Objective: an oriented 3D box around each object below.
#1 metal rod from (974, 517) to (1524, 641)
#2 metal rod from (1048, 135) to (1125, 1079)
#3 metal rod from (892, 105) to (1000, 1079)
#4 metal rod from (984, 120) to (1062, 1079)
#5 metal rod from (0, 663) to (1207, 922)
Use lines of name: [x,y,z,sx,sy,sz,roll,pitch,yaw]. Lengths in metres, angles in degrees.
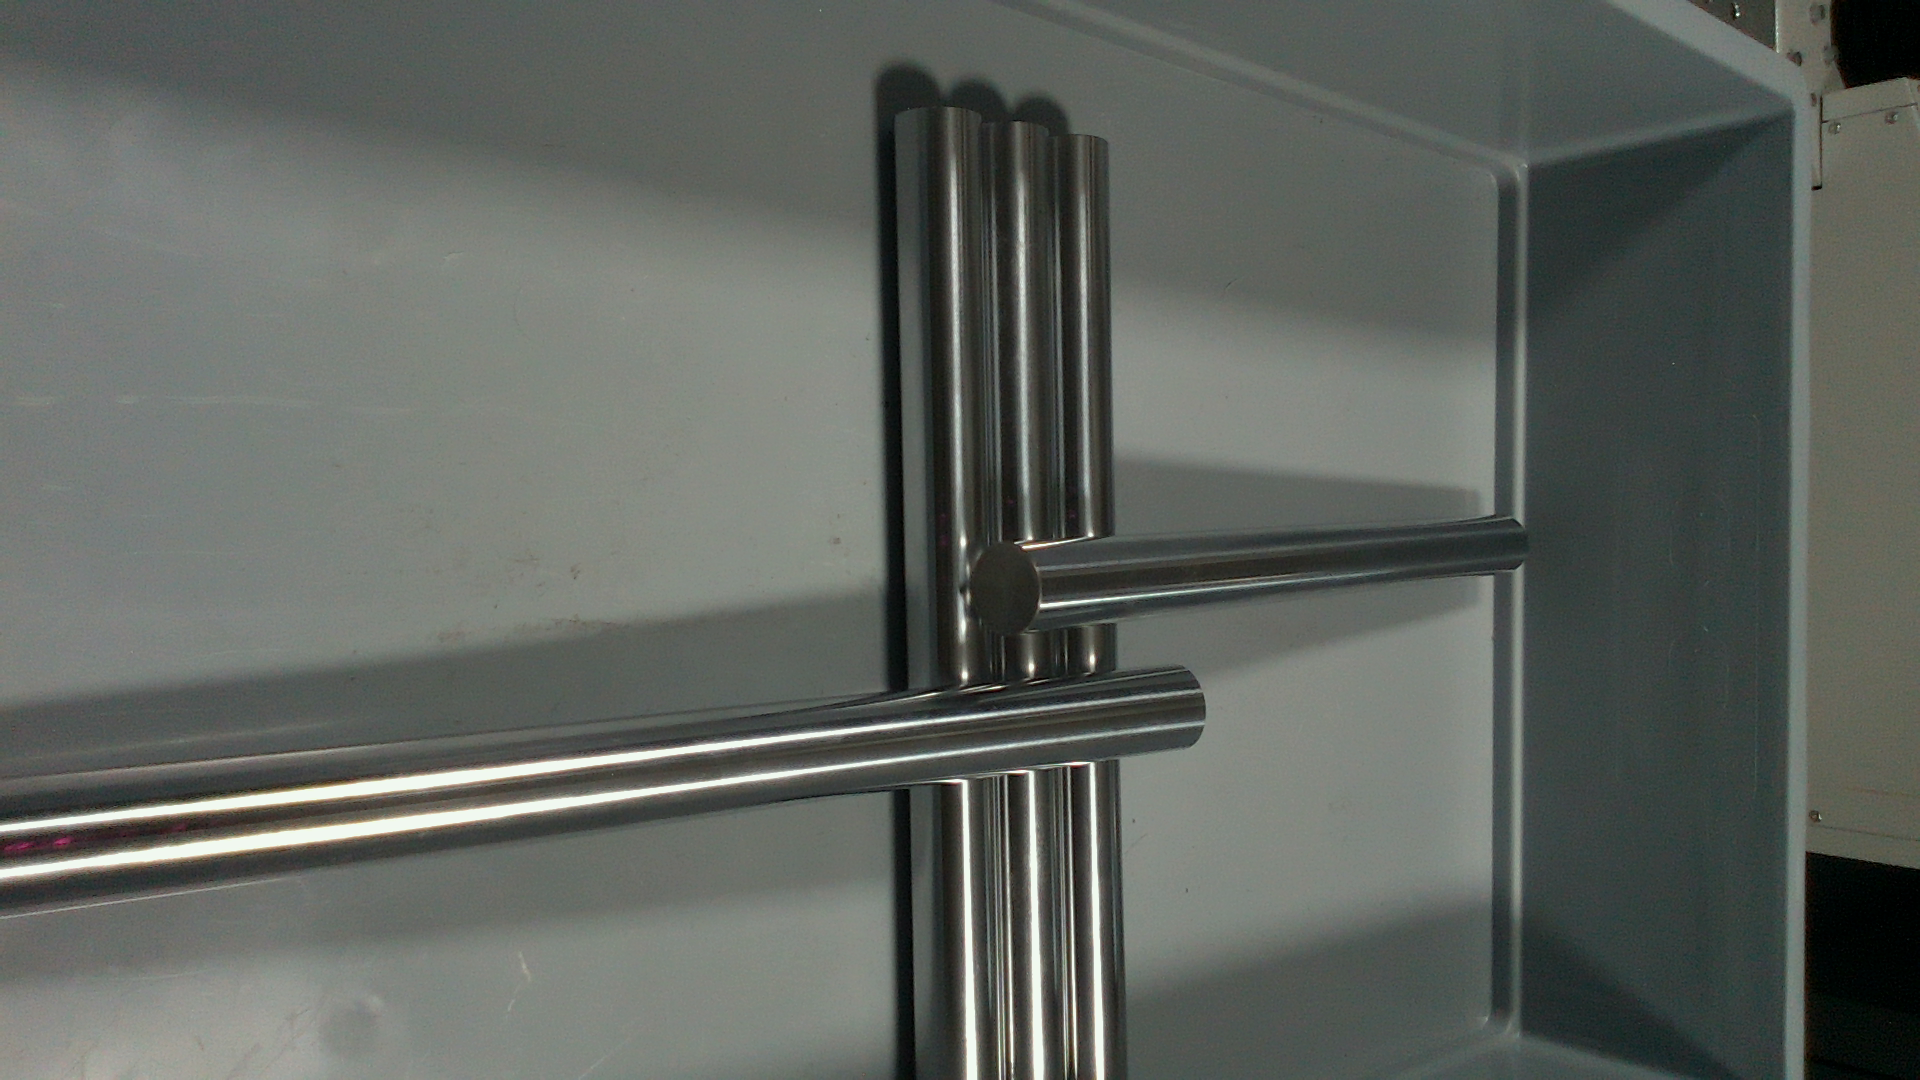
metal rod: [0.117,0.008,0.463,0.301,0.025,0.025,-3,92,-46]
metal rod: [0.035,0.031,0.417,0.025,0.025,0.300,-2,91,-40]
metal rod: [-0.003,0.033,0.385,0.025,0.025,0.300,-2,91,-40]
metal rod: [0.015,0.032,0.400,0.025,0.025,0.300,-2,91,-40]
metal rod: [-0.062,0.052,0.315,0.301,0.025,0.025,-2,91,-34]
